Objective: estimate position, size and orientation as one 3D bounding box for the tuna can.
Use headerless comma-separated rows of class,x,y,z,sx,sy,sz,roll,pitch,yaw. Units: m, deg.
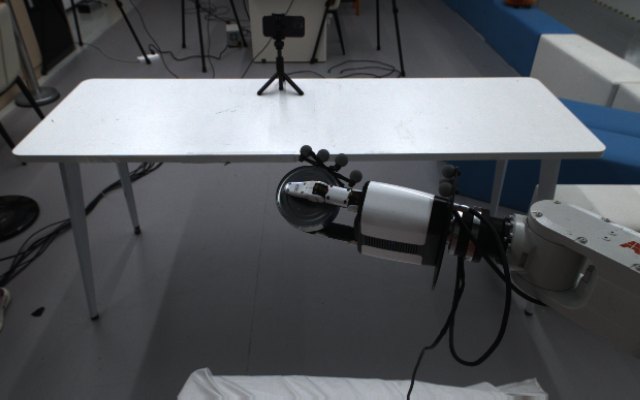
tuna can,-0.014,-0.002,0.655,0.085,0.034,0.085,-2,71,6
